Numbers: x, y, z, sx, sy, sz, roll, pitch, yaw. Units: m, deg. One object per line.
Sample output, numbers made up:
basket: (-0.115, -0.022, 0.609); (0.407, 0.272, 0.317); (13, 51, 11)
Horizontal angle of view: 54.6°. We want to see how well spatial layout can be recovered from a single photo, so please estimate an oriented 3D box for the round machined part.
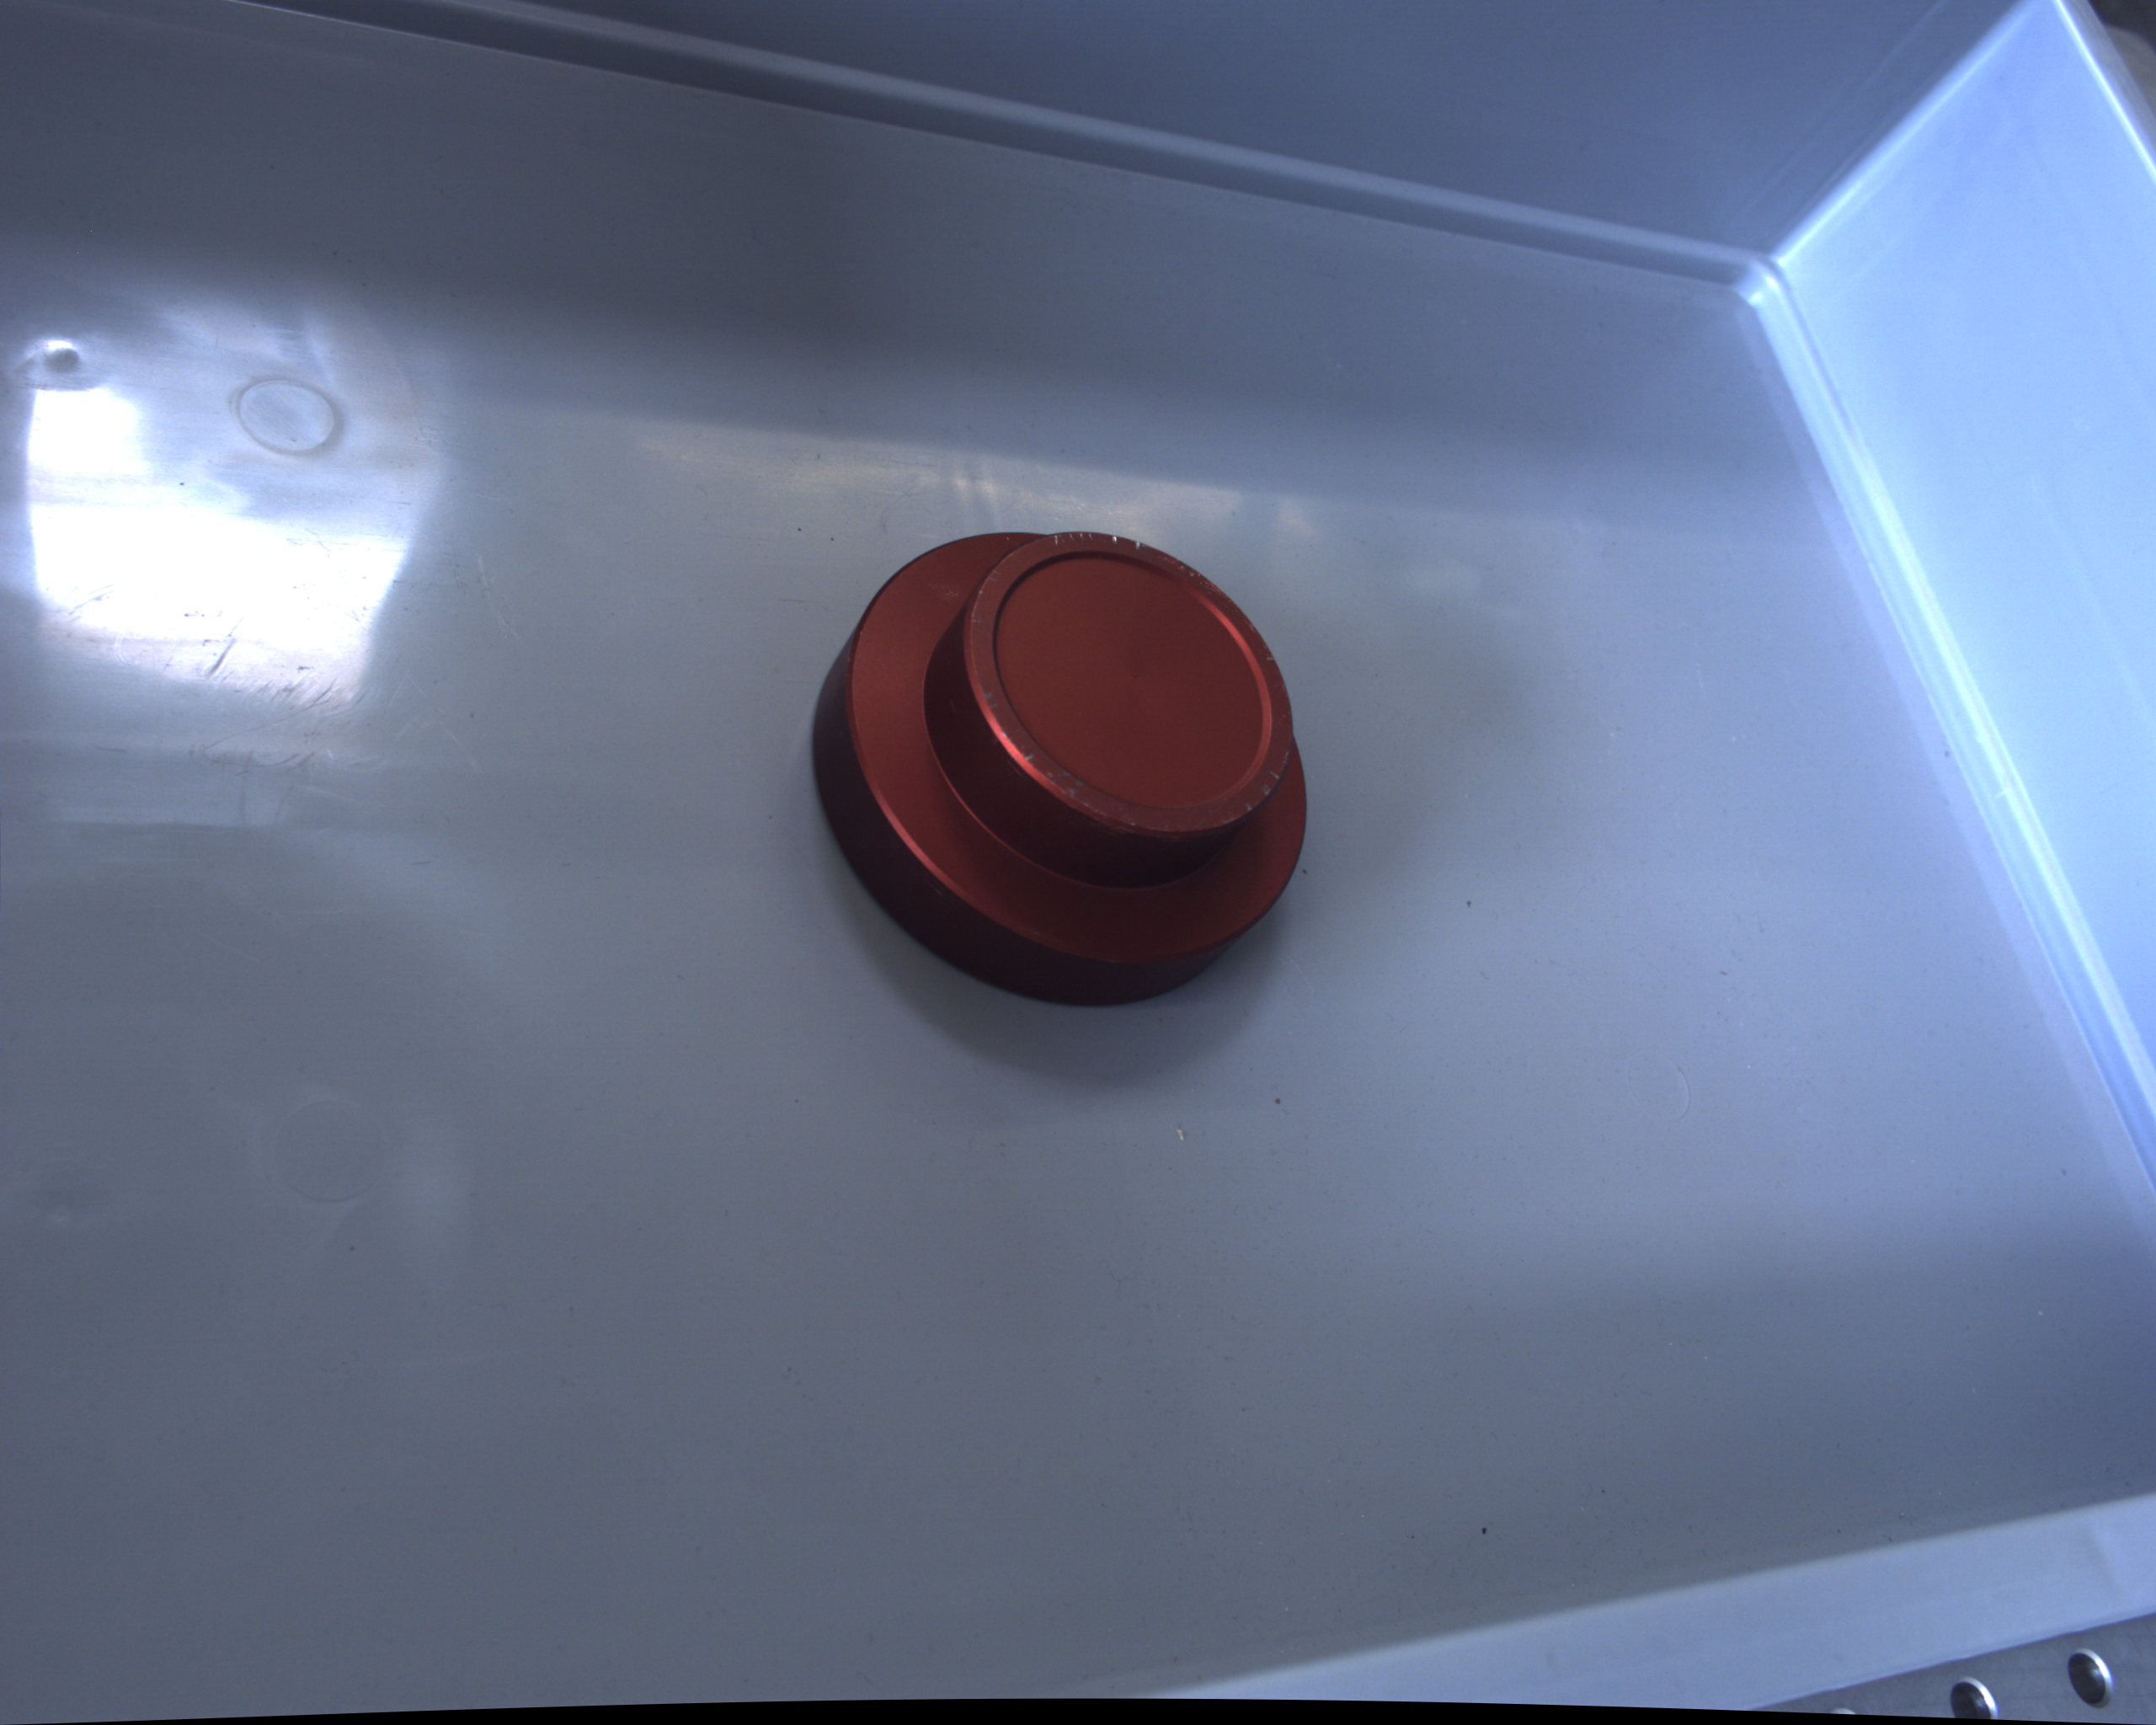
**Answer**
round machined part: (0.002, -0.025, 0.407); (0.099, 0.042, 0.098); (13, 56, -21)
